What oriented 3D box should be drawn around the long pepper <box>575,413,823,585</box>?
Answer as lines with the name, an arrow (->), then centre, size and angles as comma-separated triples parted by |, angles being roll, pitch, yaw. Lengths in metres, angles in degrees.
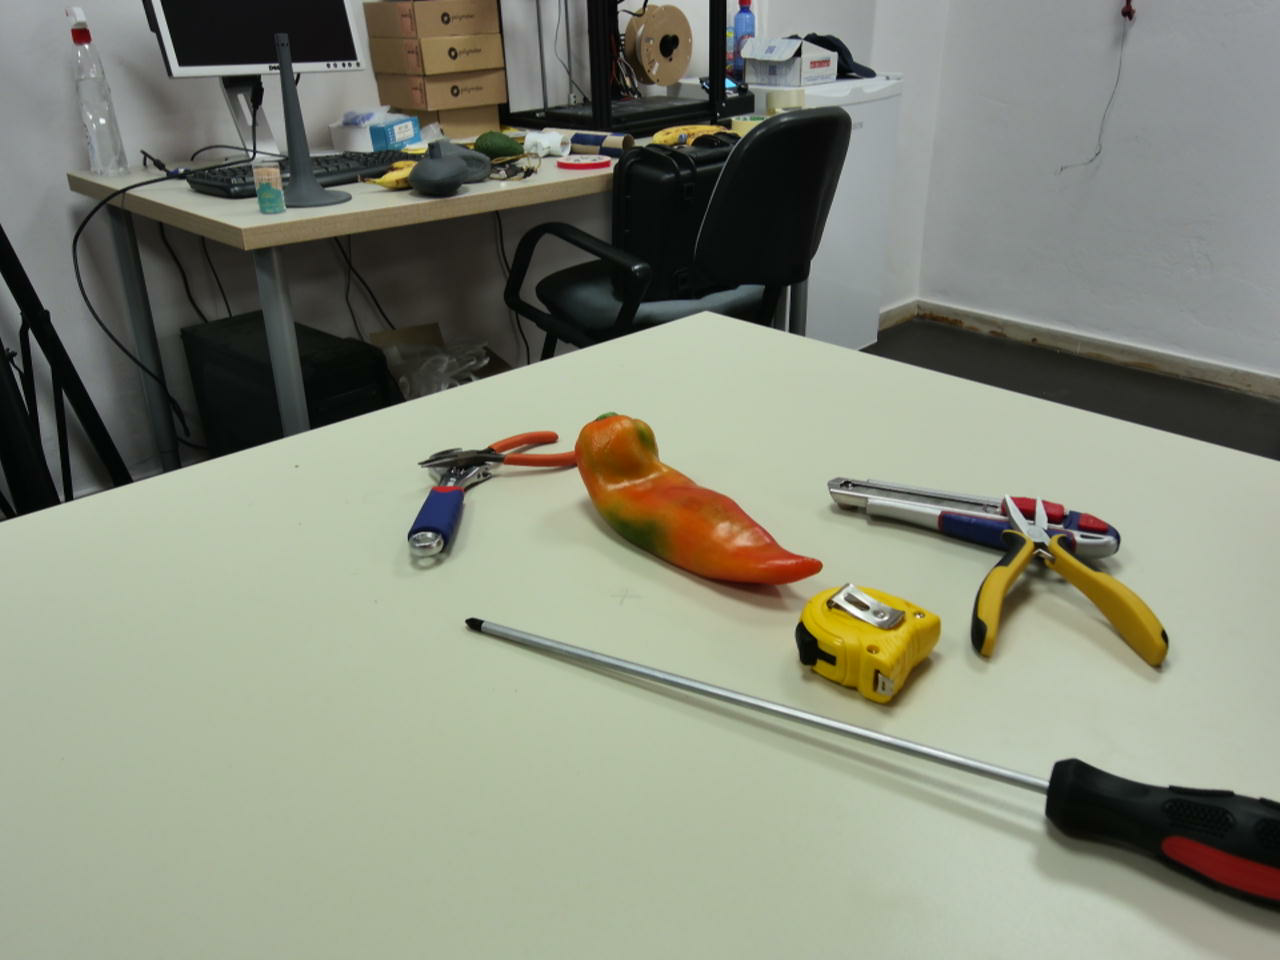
long pepper -> 0.030, 0.012, 0.608 | 0.066, 0.065, 0.199 | -17, 29, -33
